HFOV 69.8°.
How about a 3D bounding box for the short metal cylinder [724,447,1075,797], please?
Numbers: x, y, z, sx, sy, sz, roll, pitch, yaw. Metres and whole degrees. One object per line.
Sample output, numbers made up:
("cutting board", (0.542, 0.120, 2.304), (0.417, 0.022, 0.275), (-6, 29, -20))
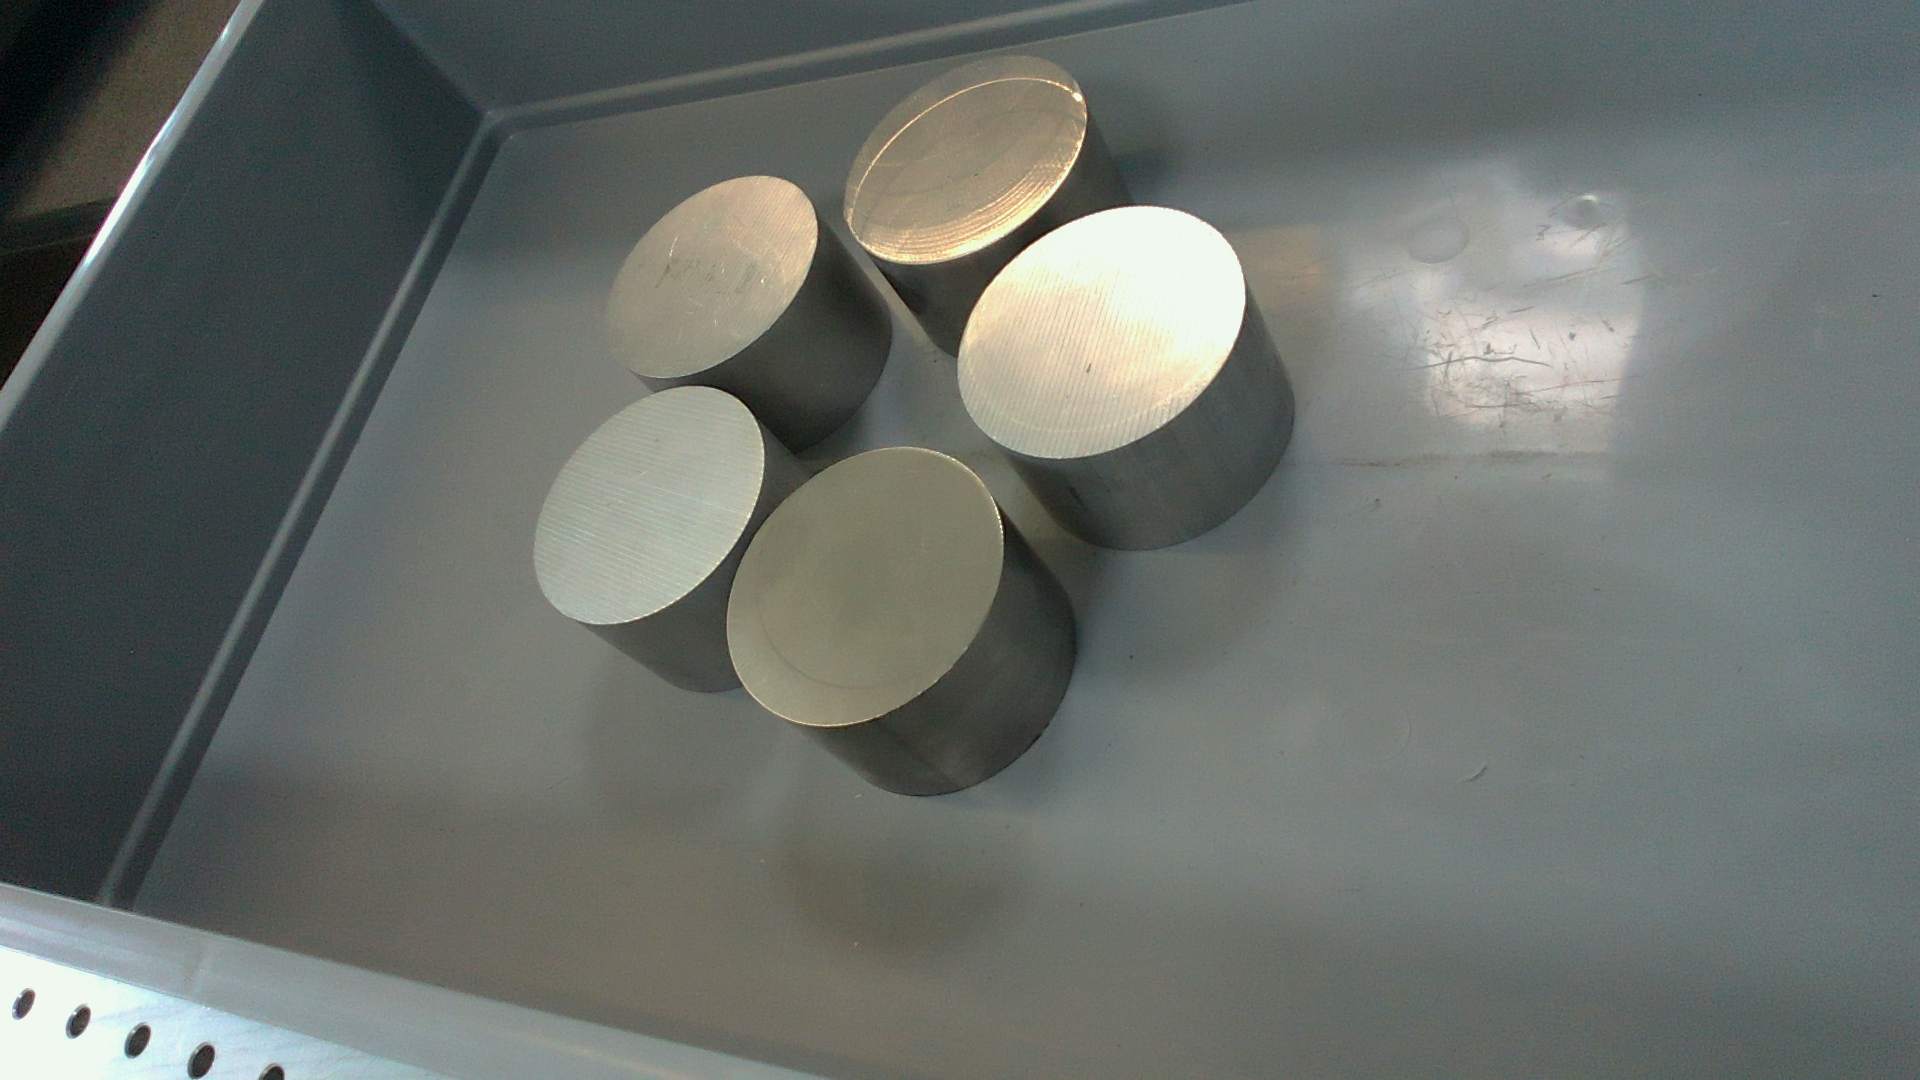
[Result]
("short metal cylinder", (-0.015, 0.022, 0.370), (0.080, 0.050, 0.080), (-13, 56, 21))

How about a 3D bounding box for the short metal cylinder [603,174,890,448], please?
("short metal cylinder", (-0.070, -0.074, 0.459), (0.080, 0.050, 0.080), (-13, 56, 21))

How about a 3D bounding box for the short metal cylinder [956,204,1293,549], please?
("short metal cylinder", (0.046, -0.044, 0.378), (0.080, 0.050, 0.080), (-13, 56, 21))

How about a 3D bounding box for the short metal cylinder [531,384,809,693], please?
("short metal cylinder", (-0.082, 0.000, 0.420), (0.080, 0.050, 0.080), (-13, 56, 21))

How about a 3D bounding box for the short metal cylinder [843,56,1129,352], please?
("short metal cylinder", (0.011, -0.104, 0.434), (0.080, 0.050, 0.080), (-13, 56, 21))
